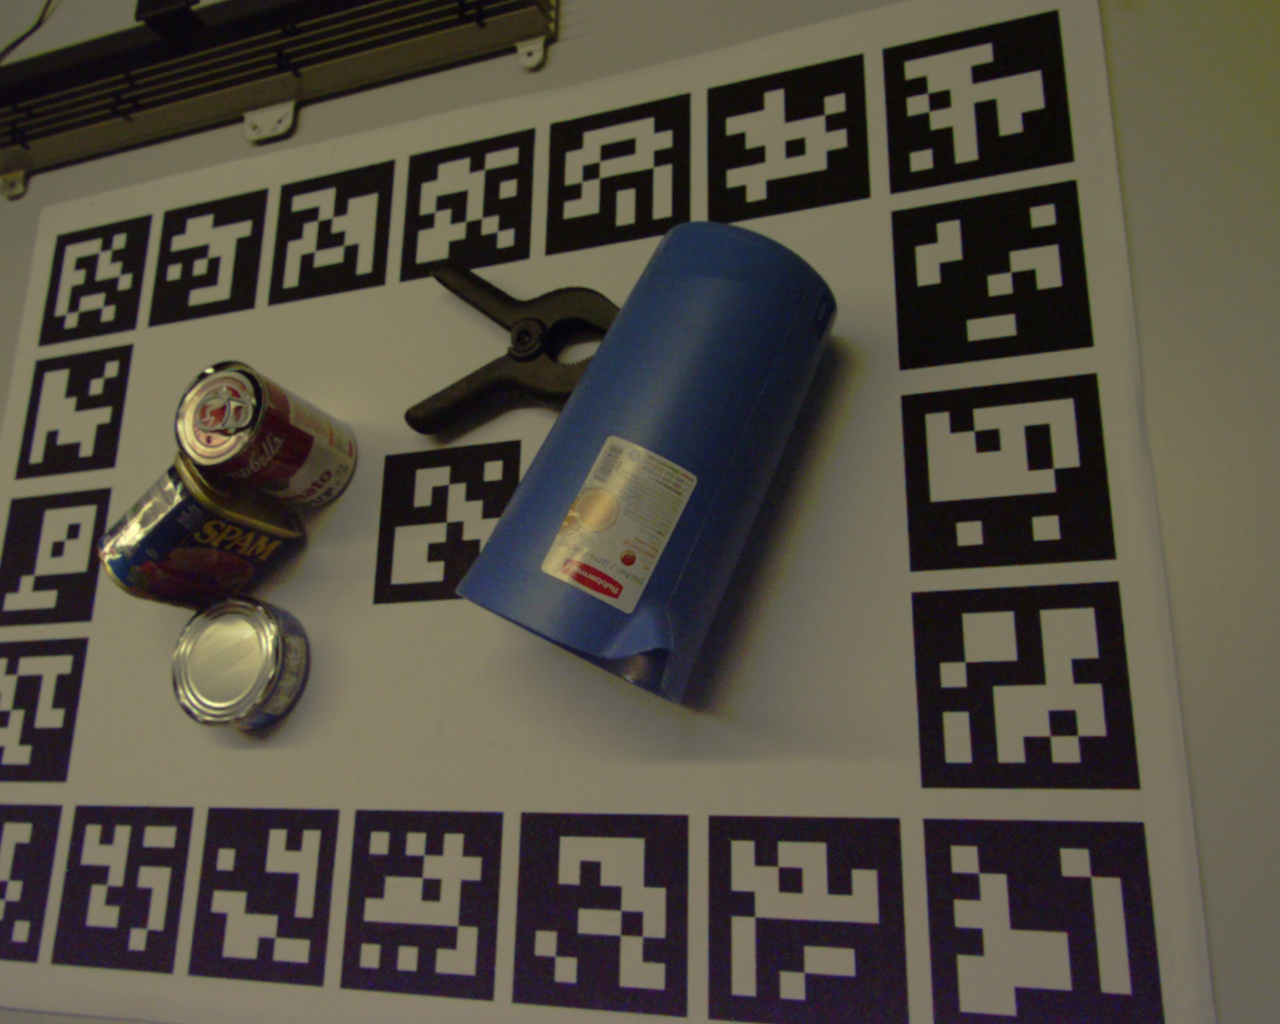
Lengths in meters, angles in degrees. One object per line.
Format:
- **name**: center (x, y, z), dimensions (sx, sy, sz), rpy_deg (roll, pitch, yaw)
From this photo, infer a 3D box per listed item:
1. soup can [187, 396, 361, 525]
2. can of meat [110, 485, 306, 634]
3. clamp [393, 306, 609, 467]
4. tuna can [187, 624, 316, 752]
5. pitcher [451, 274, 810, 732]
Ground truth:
- **soup can**: center (-0.250, -0.033, 0.786), dimensions (0.068, 0.101, 0.068), rpy_deg (-6, 75, 23)
- **can of meat**: center (-0.296, 0.036, 0.781), dimensions (0.084, 0.100, 0.058), rpy_deg (-41, 66, 11)
- **clamp**: center (-0.088, -0.092, 0.781), dimensions (0.166, 0.036, 0.122), rpy_deg (-2, 71, 18)
- **tuna can**: center (-0.267, 0.122, 0.786), dimensions (0.086, 0.033, 0.086), rpy_deg (-5, 75, 21)
- **pitcher**: center (-0.005, -0.009, 0.657), dimensions (0.191, 0.131, 0.242), rpy_deg (13, 73, 47)
